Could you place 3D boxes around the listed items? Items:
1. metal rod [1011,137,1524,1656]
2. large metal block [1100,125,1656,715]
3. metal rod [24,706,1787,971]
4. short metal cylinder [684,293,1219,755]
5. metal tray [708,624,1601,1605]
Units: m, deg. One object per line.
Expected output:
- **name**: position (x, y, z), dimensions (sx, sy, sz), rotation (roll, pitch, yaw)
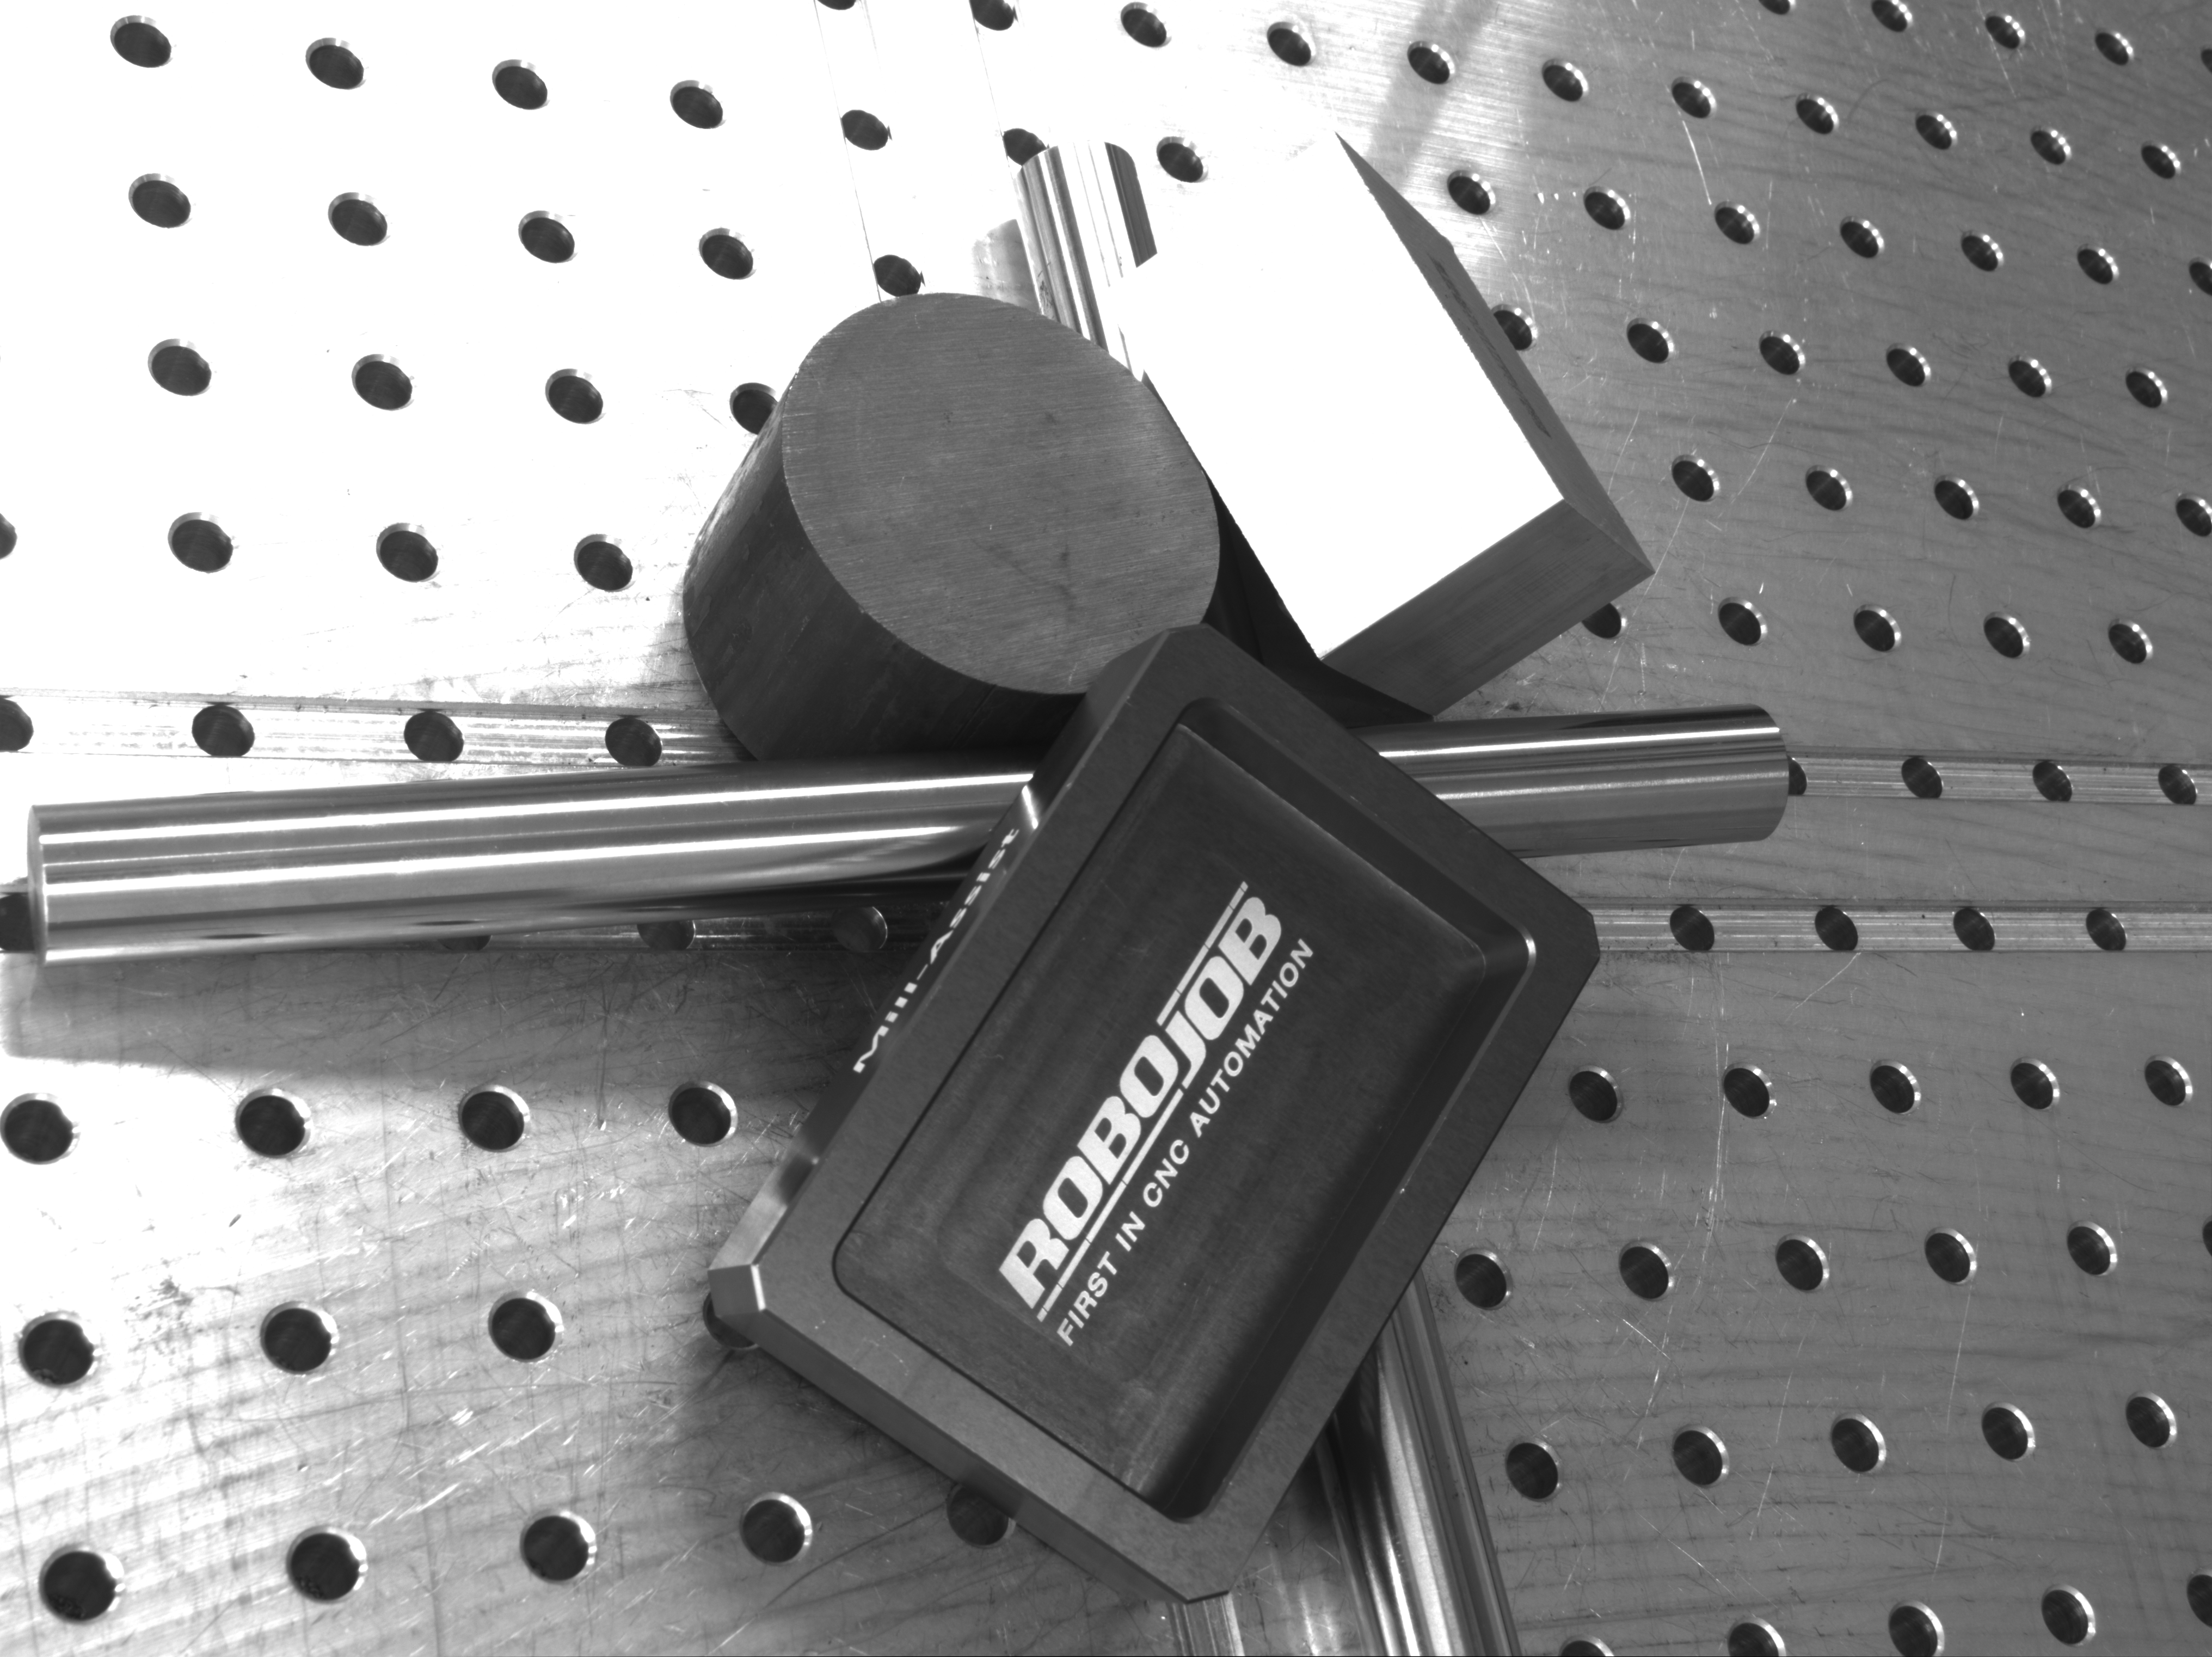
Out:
- **metal rod**: position (0.025, 0.005, 0.652), dimensions (0.025, 0.025, 0.300), rotation (1, 61, -28)
- **large metal block**: position (0.052, -0.071, 0.672), dimensions (0.080, 0.050, 0.080), rotation (60, 14, 15)
- **metal rod**: position (-0.022, 0.000, 0.610), dimensions (0.301, 0.025, 0.025), rotation (-4, 63, -22)
- **short metal cylinder**: position (-0.027, -0.046, 0.639), dimensions (0.080, 0.050, 0.080), rotation (13, 56, -21)
- **metal tray**: position (0.009, 0.045, 0.584), dimensions (0.090, 0.030, 0.130), rotation (37, 72, -11)
